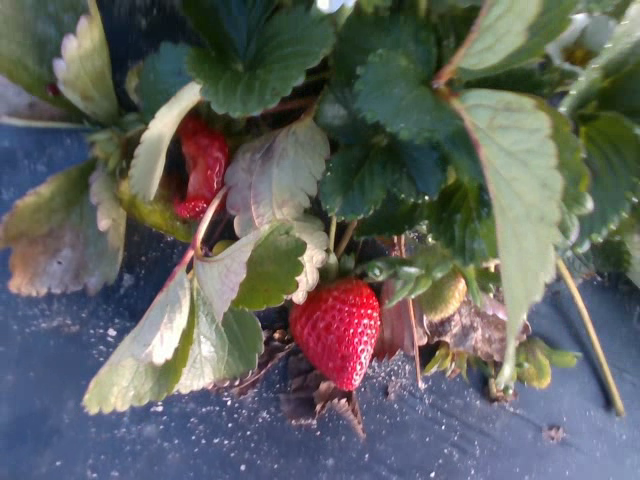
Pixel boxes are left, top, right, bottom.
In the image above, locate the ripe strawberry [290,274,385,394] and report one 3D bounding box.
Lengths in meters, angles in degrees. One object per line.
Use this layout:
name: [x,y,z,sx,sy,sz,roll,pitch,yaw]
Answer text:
ripe strawberry: [0.004,0.027,0.161,0.032,0.030,0.026,-11,-11,2]
